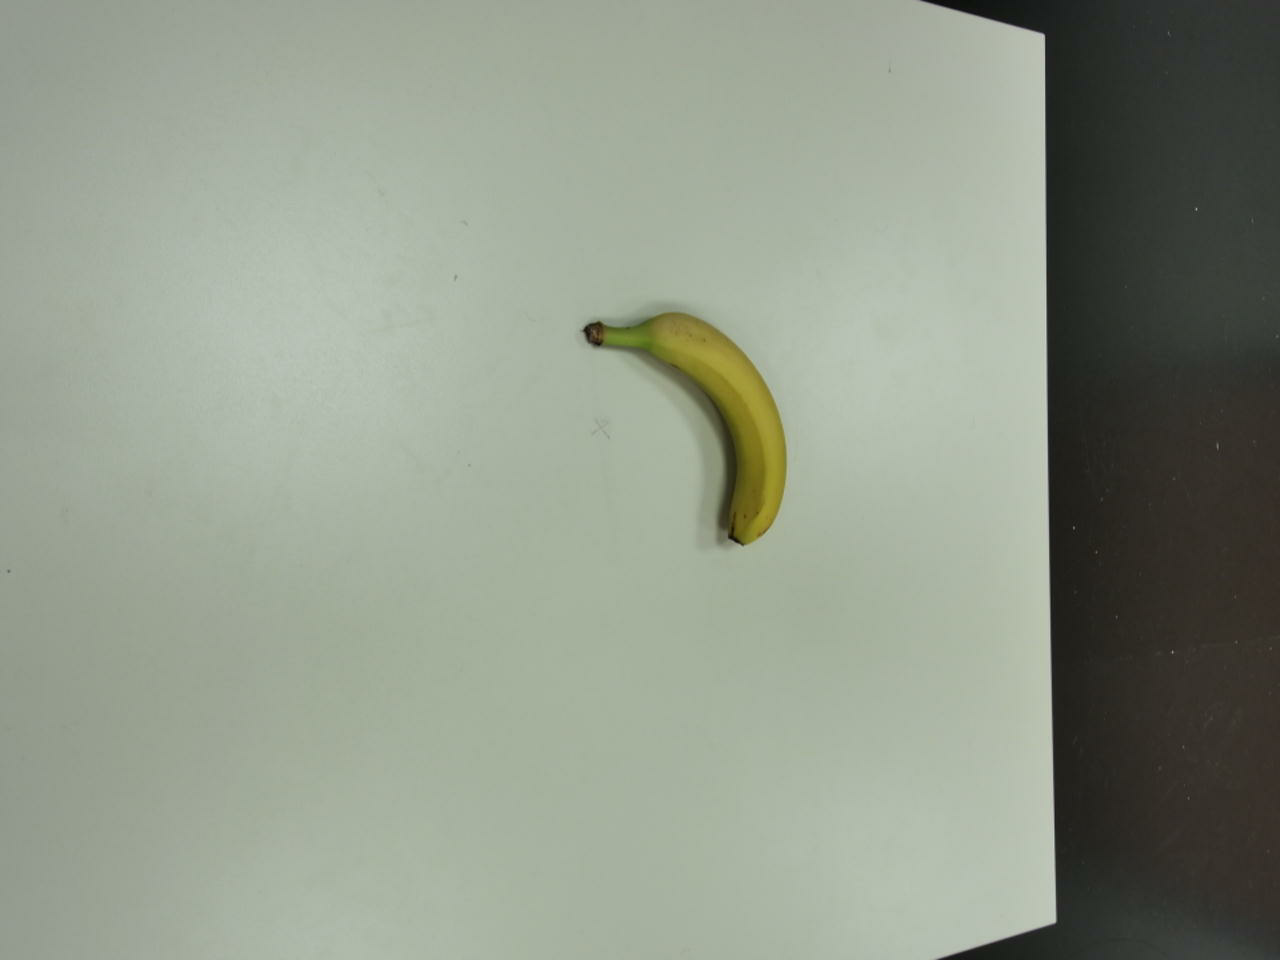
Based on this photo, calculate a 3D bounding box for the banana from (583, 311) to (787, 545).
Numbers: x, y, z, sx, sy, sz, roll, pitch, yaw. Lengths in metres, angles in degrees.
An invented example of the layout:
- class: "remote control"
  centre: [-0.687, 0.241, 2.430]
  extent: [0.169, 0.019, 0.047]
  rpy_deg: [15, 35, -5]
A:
- class: "banana"
  centre: [0.053, -0.053, 0.727]
  extent: [0.094, 0.041, 0.196]
  rpy_deg: [-40, 108, -22]
